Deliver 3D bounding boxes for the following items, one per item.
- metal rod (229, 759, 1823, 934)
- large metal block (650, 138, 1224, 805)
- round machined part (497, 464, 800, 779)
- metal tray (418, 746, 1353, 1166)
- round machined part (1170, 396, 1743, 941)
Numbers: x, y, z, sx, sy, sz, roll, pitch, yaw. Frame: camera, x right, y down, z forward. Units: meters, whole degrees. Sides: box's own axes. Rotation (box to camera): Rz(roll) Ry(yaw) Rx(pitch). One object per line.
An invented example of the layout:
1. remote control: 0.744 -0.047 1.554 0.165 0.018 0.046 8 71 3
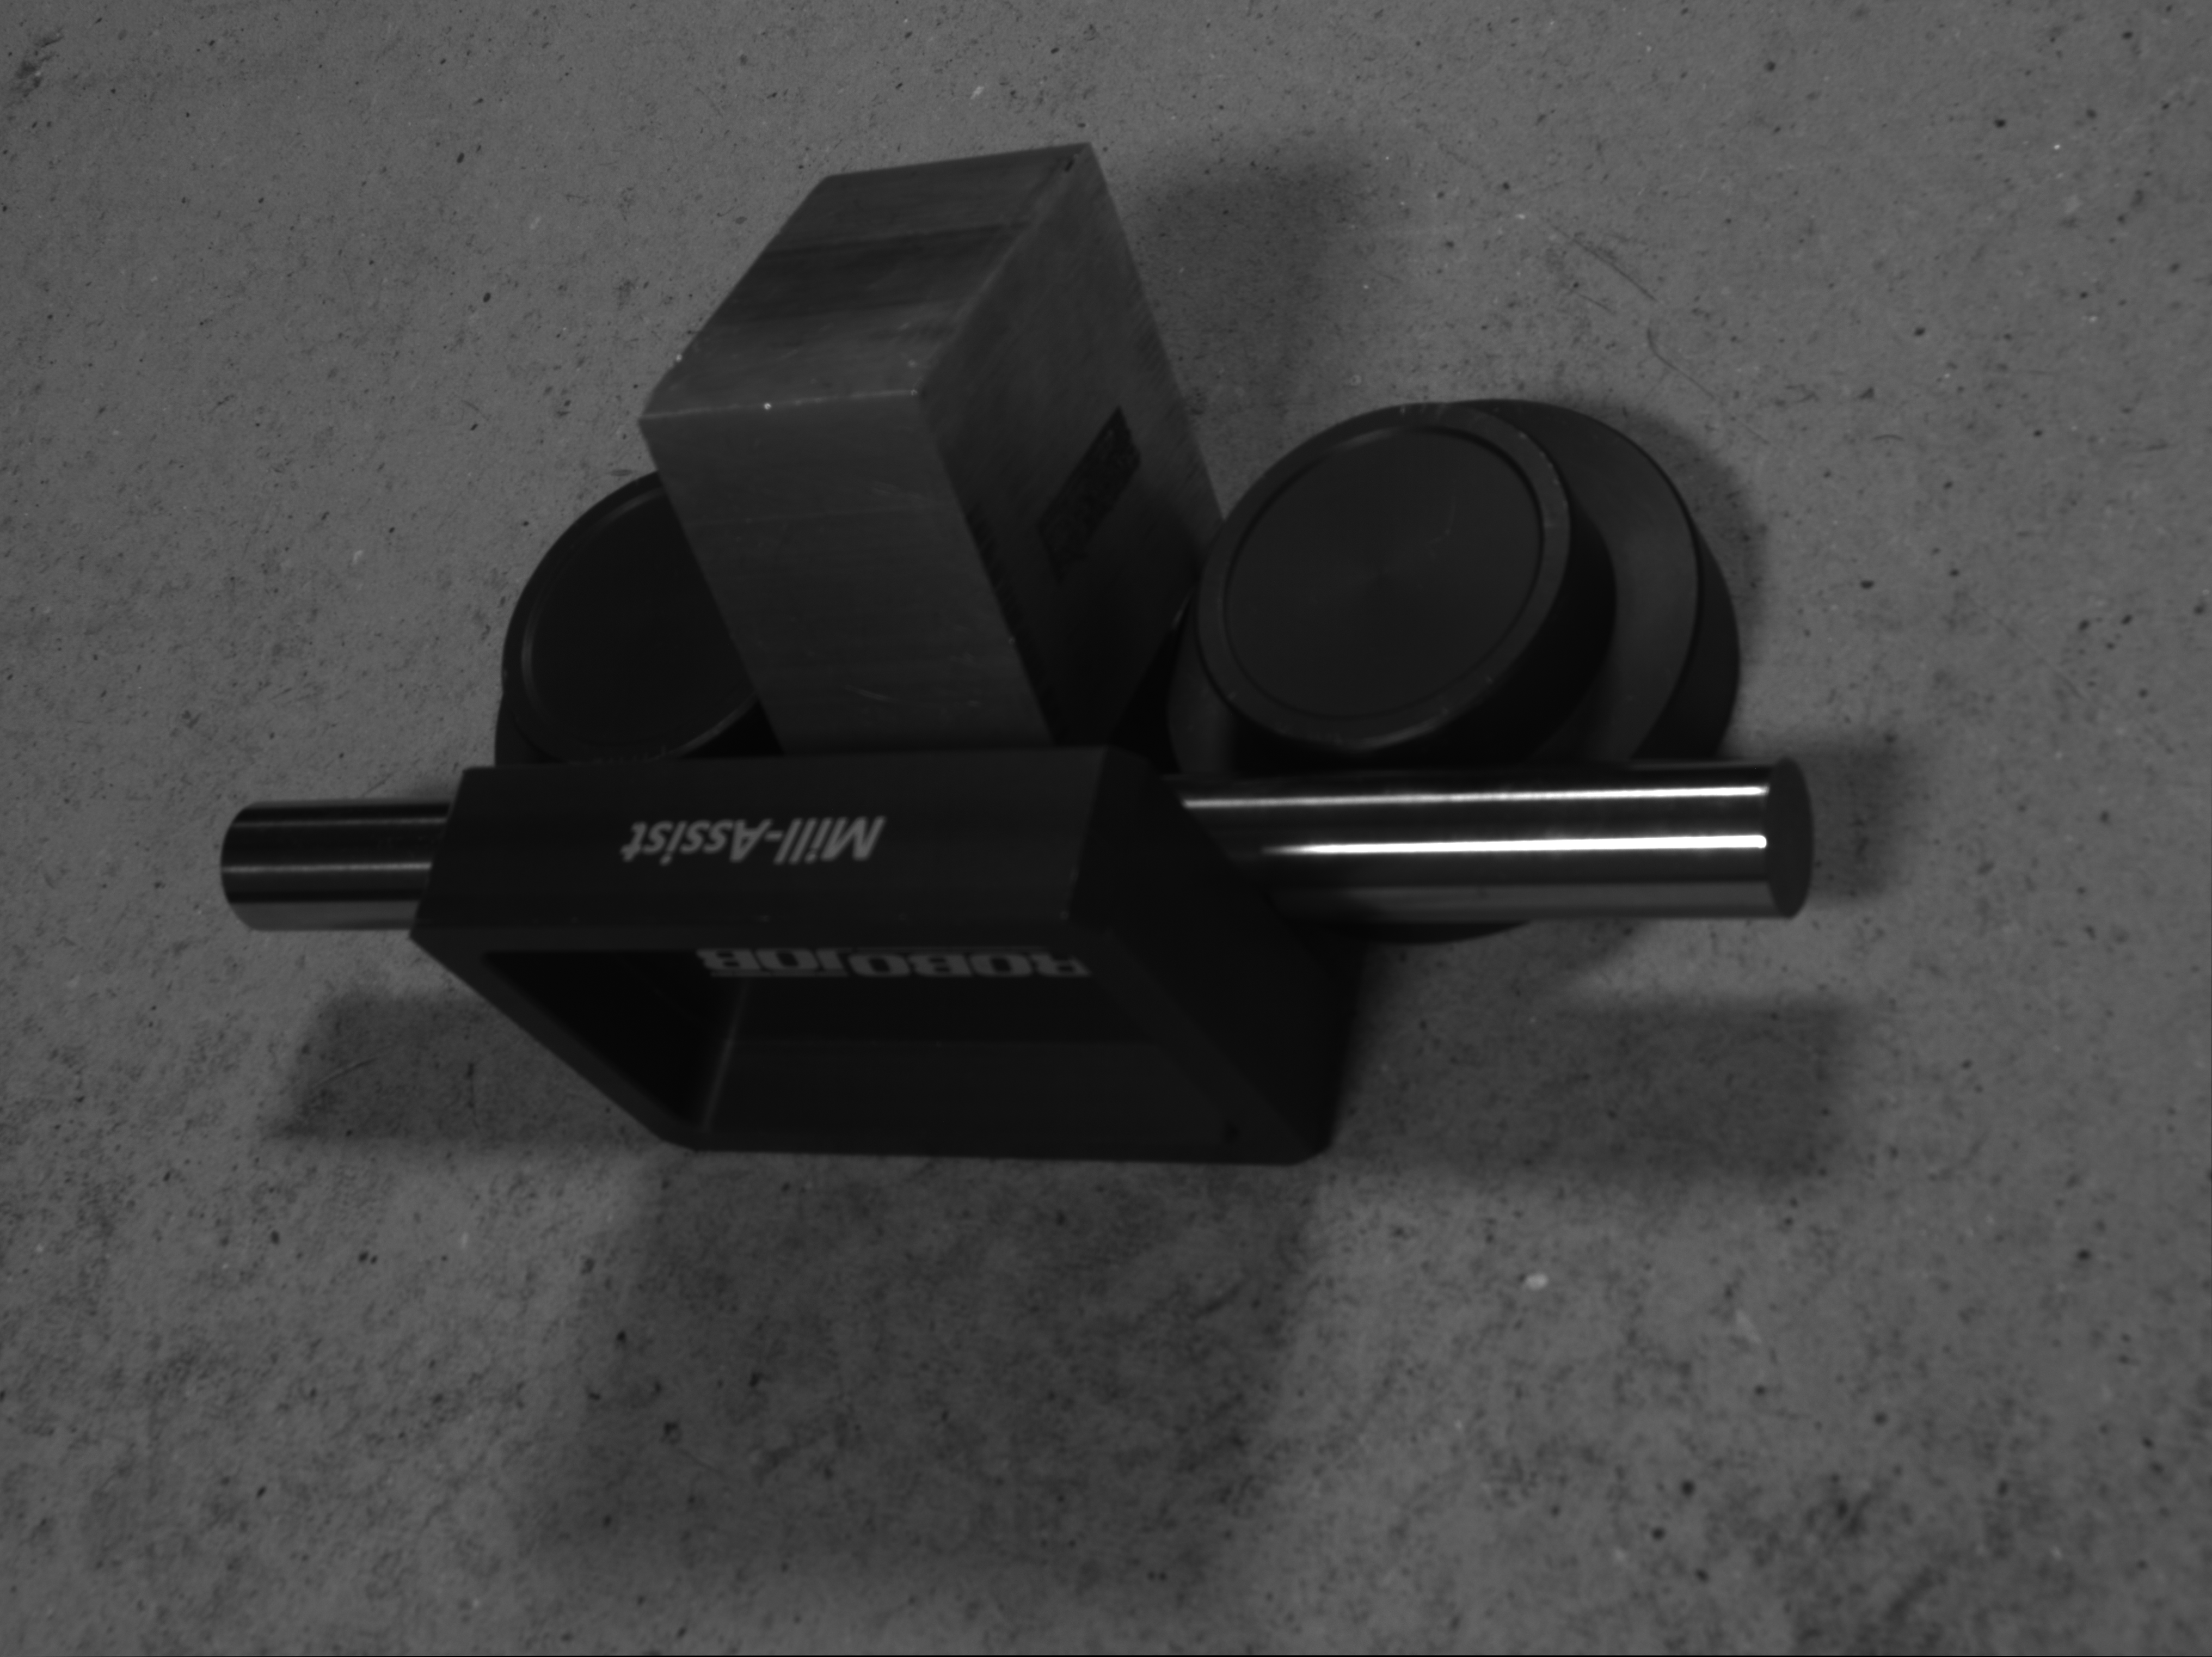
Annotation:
1. metal rod: -0.026 0.005 0.629 0.299 0.025 0.025 -1 61 28
2. large metal block: -0.025 -0.060 0.625 0.050 0.080 0.080 -2 37 27
3. round machined part: -0.074 -0.031 0.690 0.098 0.042 0.098 -13 56 21
4. metal tray: -0.036 0.023 0.607 0.130 0.090 0.030 -1 61 28
5. round machined part: 0.055 -0.034 0.623 0.098 0.042 0.098 -13 56 21
